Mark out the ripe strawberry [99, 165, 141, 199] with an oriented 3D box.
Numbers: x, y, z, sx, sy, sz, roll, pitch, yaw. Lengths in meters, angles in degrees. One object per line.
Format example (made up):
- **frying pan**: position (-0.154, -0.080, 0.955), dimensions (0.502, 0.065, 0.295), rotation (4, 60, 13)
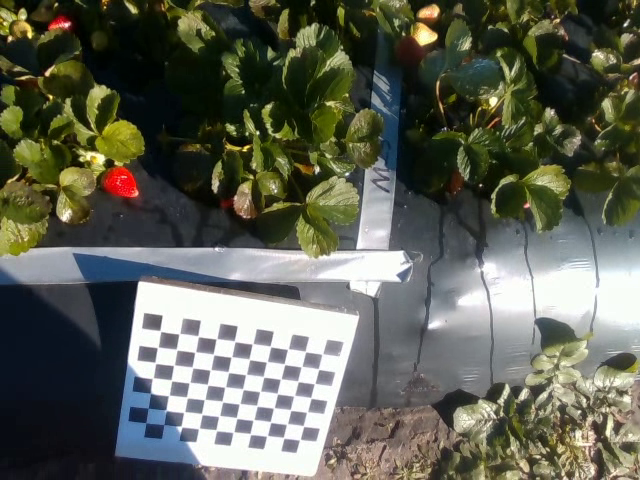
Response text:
- **ripe strawberry**: position (-0.260, -0.071, 0.812), dimensions (0.059, 0.045, 0.042), rotation (40, 10, -1)
